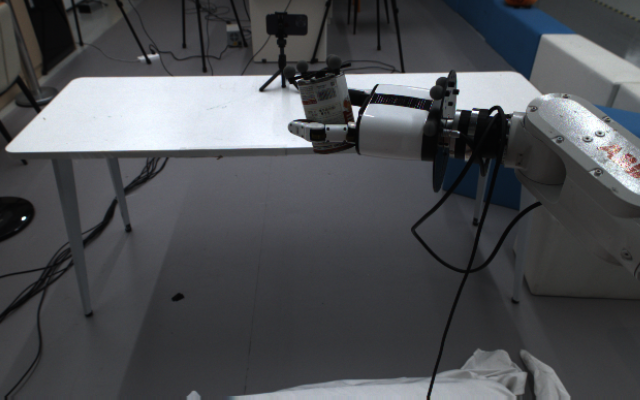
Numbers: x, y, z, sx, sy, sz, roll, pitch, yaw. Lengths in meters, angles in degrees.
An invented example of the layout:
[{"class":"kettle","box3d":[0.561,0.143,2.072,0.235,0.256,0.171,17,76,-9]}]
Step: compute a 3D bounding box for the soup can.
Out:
[{"class":"soup can","box3d":[0.013,-0.123,0.674,0.067,0.101,0.067,-13,20,5]}]
